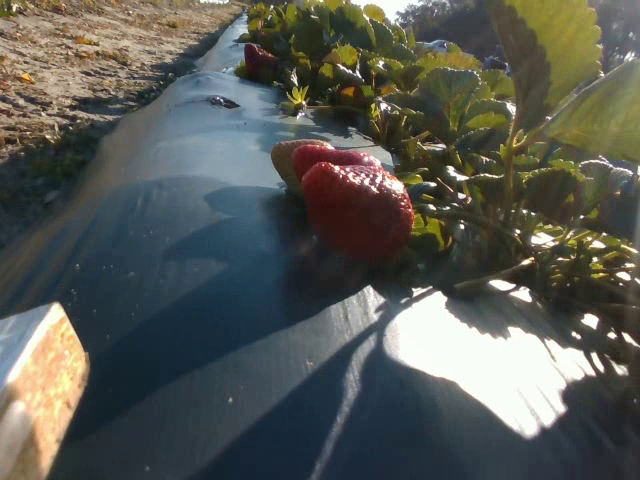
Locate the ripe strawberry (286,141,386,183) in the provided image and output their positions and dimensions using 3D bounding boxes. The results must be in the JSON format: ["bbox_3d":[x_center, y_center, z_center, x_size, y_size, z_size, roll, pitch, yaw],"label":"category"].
[{"bbox_3d":[0.008,-0.032,0.320,0.061,0.044,0.051,31,37,0],"label":"ripe strawberry"}]

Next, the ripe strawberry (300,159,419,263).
[{"bbox_3d":[0.012,-0.017,0.268,0.056,0.052,0.067,1,-23,39],"label":"ripe strawberry"}]
